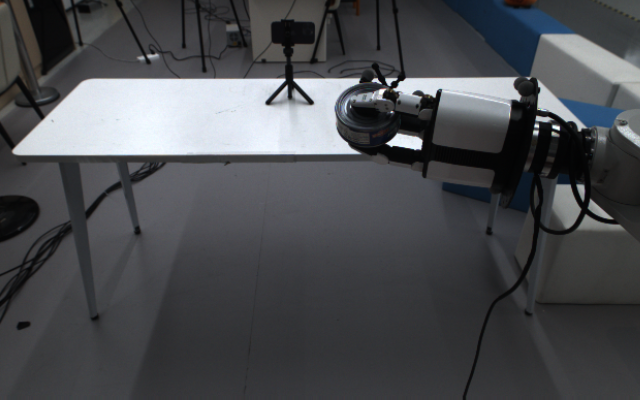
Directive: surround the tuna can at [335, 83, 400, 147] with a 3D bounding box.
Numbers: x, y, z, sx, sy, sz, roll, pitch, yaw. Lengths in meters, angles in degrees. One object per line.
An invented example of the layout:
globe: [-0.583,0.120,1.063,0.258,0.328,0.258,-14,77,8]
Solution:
tuna can: [0.067,-0.107,0.630,0.085,0.034,0.085,-4,58,6]
